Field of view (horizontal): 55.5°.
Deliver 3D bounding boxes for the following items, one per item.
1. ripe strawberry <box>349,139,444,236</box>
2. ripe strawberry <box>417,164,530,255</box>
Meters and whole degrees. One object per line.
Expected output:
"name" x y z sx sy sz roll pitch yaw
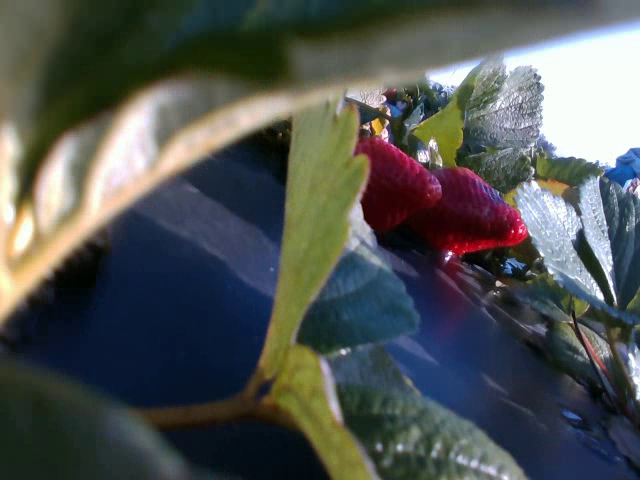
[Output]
"ripe strawberry" 0.024 -0.020 0.221 0.051 0.037 0.043 21 38 34
"ripe strawberry" 0.064 -0.009 0.258 0.052 0.046 0.057 -22 32 -40
